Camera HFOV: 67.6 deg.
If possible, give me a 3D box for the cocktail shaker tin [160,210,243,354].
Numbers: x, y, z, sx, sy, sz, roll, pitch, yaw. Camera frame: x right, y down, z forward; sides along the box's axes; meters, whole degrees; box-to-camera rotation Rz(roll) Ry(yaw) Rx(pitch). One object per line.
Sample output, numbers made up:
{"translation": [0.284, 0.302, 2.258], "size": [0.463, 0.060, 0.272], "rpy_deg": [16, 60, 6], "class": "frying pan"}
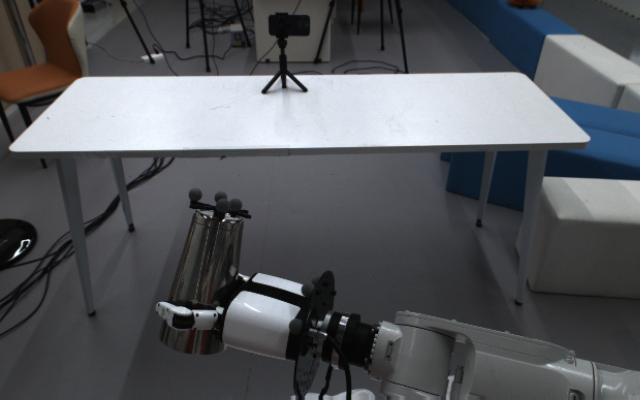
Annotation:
{"translation": [-0.149, 0.104, 0.636], "size": [0.093, 0.170, 0.093], "rpy_deg": [12, 5, -1], "class": "cocktail shaker tin"}
